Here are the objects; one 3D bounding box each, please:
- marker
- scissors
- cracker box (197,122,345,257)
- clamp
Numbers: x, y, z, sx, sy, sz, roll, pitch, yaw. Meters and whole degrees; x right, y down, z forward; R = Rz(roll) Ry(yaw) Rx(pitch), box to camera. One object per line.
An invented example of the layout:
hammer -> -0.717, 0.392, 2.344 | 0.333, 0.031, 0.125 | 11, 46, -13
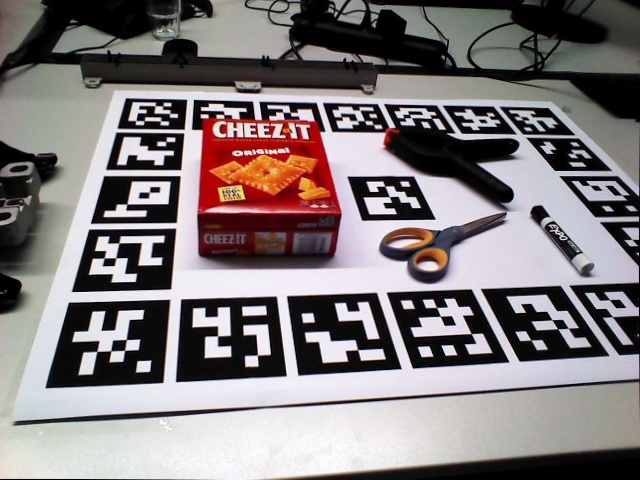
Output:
marker -> 0.315, -0.004, 0.662 | 0.019, 0.020, 0.120 | -4, 41, -12
scissors -> 0.173, -0.004, 0.645 | 0.201, 0.016, 0.088 | -21, 47, -32
cracker box -> -0.065, -0.072, 0.653 | 0.164, 0.072, 0.212 | 0, 41, -8
clamp -> 0.197, -0.124, 0.794 | 0.203, 0.037, 0.164 | 19, 41, 13
